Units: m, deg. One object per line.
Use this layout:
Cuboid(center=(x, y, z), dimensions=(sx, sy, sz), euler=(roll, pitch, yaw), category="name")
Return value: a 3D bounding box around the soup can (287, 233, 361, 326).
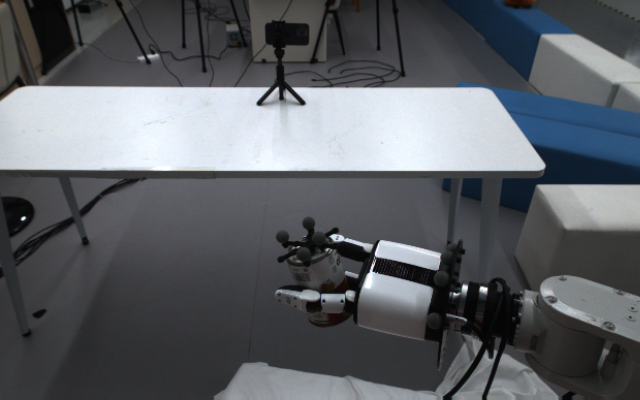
Cuboid(center=(0.004, 0.106, 0.636), dimensions=(0.067, 0.101, 0.067), euler=(-16, 22, 7), category="soup can")
